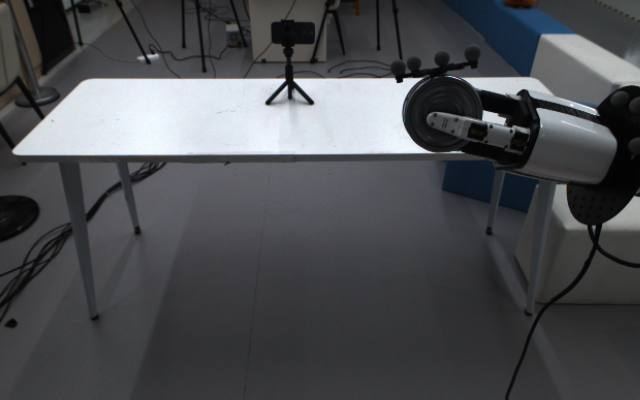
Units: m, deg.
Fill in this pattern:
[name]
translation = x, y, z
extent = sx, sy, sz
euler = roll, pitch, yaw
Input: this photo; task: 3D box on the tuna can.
[tuna can]
translation = 0.138, -0.099, 0.544
extent = 0.085, 0.085, 0.034
euler = 6, 18, 5
